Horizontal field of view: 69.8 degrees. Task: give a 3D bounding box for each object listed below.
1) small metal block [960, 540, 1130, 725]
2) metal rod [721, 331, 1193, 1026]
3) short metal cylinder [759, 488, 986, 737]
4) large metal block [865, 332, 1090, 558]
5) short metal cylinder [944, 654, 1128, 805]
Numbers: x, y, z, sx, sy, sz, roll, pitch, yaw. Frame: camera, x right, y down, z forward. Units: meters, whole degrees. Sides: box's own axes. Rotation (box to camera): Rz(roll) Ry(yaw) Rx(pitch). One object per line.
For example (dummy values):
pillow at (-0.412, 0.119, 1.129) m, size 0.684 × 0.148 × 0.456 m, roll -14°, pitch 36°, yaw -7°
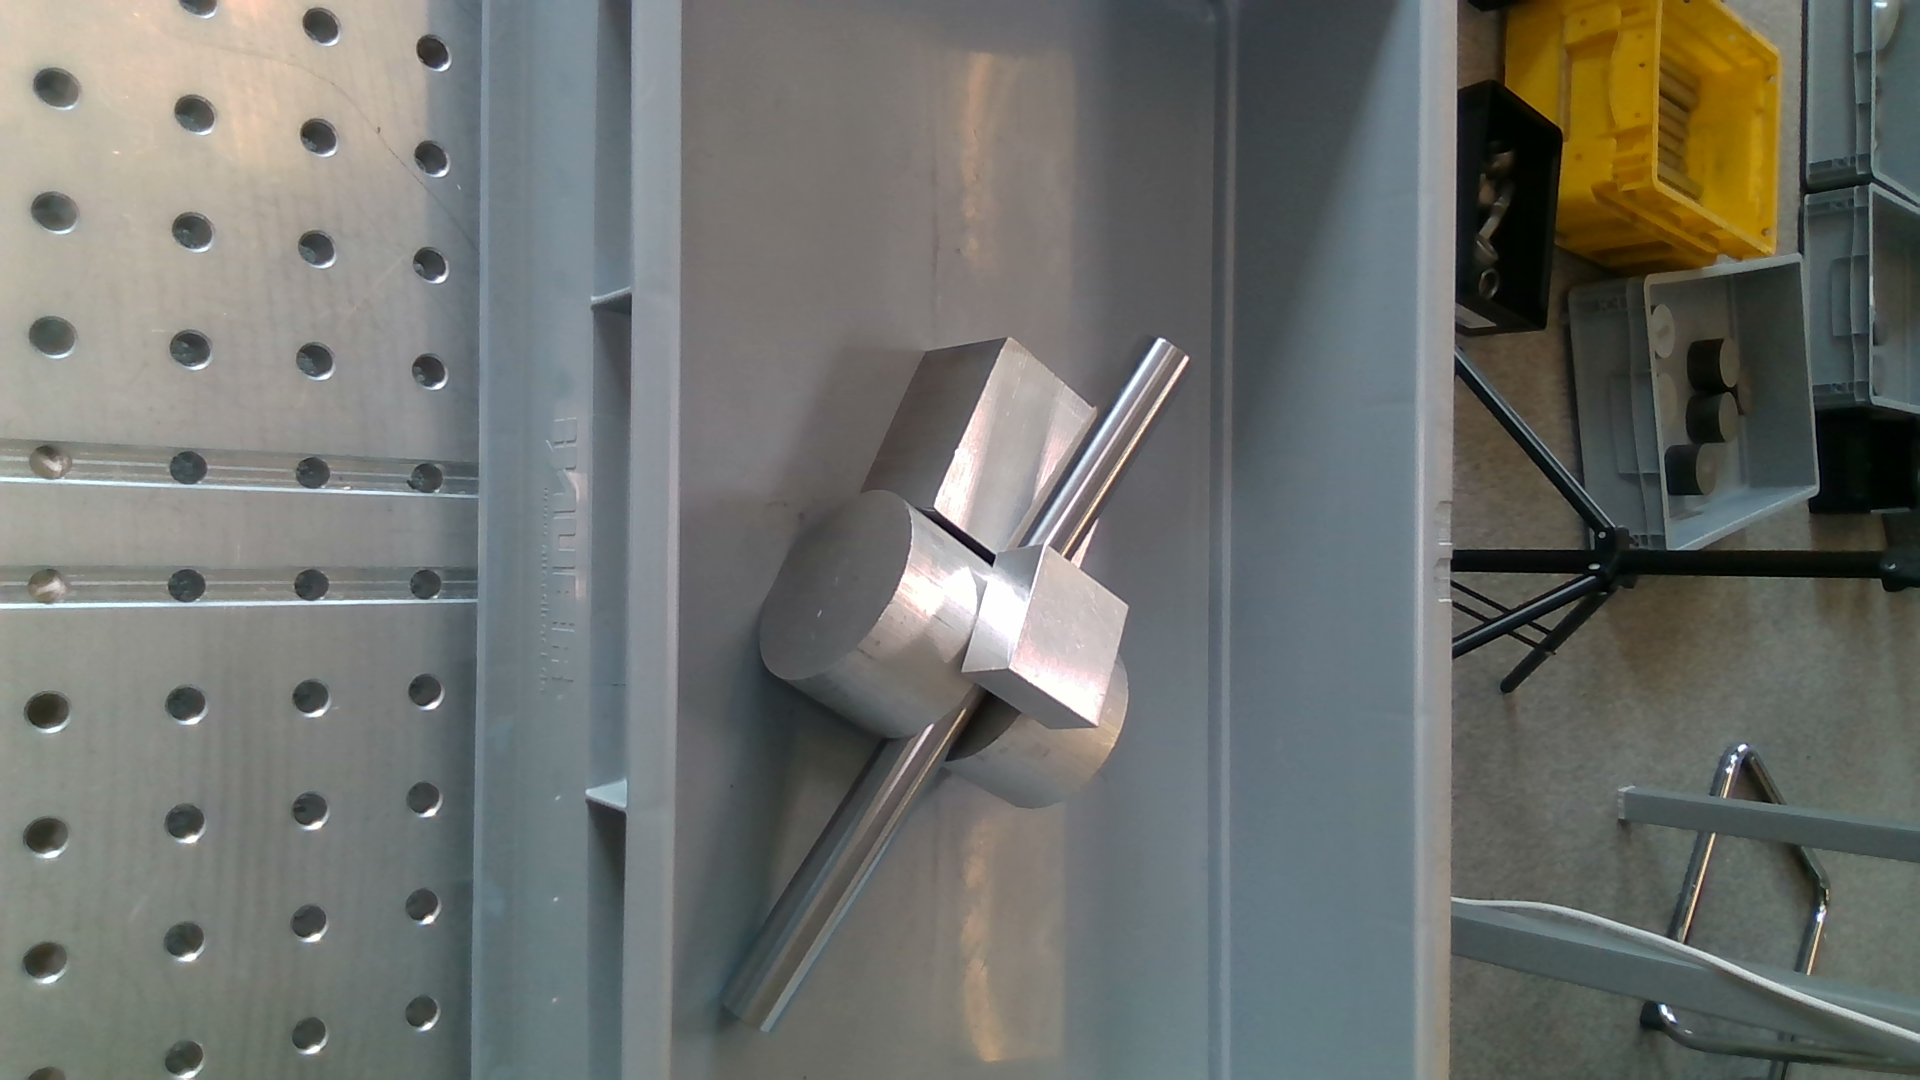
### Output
small metal block at (0.032, 0.035, 0.506) m, size 0.050 × 0.025 × 0.050 m, roll 36°, pitch 59°, yaw -34°
metal rod at (0.001, 0.050, 0.532) m, size 0.025 × 0.025 × 0.300 m, roll 37°, pitch 83°, yaw -34°
short metal cylinder at (-0.030, 0.027, 0.520) m, size 0.050 × 0.080 × 0.080 m, roll 37°, pitch 67°, yaw -34°
large metal block at (0.015, -0.028, 0.576) m, size 0.080 × 0.050 × 0.080 m, roll 36°, pitch 68°, yaw -34°
short metal cylinder at (0.022, 0.063, 0.566) m, size 0.050 × 0.080 × 0.080 m, roll 34°, pitch 69°, yaw -35°
